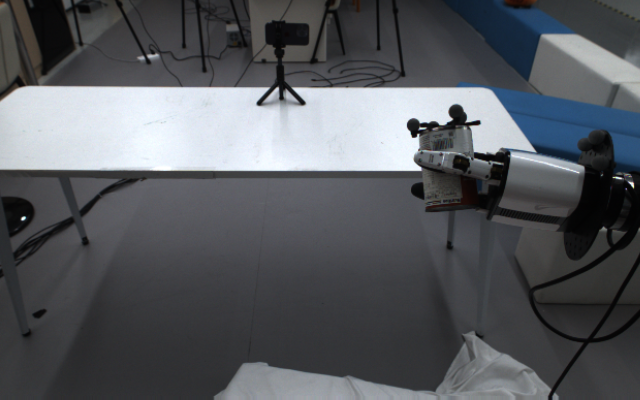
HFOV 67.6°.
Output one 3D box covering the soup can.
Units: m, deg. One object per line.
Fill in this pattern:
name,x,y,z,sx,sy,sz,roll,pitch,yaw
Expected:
soup can,0.166,-0.039,0.620,0.067,0.101,0.067,-4,-5,0
